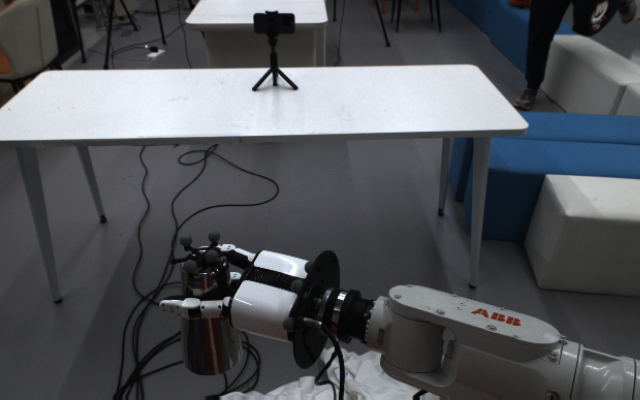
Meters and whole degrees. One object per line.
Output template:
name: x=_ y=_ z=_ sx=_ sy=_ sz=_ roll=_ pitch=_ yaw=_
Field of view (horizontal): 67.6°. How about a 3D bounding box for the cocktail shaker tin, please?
cocktail shaker tin: x=-0.164 y=0.163 z=0.717 sx=0.093 sy=0.170 sz=0.093 roll=1 pitch=26 yaw=-1
